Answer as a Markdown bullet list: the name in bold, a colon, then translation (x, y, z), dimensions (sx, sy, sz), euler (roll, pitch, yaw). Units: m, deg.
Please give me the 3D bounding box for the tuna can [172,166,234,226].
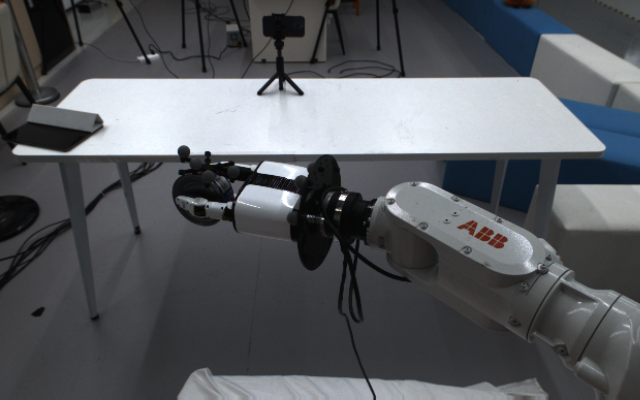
- **tuna can**: translation (-0.170, -0.005, 0.713), dimensions (0.085, 0.085, 0.034), euler (12, 29, 15)
